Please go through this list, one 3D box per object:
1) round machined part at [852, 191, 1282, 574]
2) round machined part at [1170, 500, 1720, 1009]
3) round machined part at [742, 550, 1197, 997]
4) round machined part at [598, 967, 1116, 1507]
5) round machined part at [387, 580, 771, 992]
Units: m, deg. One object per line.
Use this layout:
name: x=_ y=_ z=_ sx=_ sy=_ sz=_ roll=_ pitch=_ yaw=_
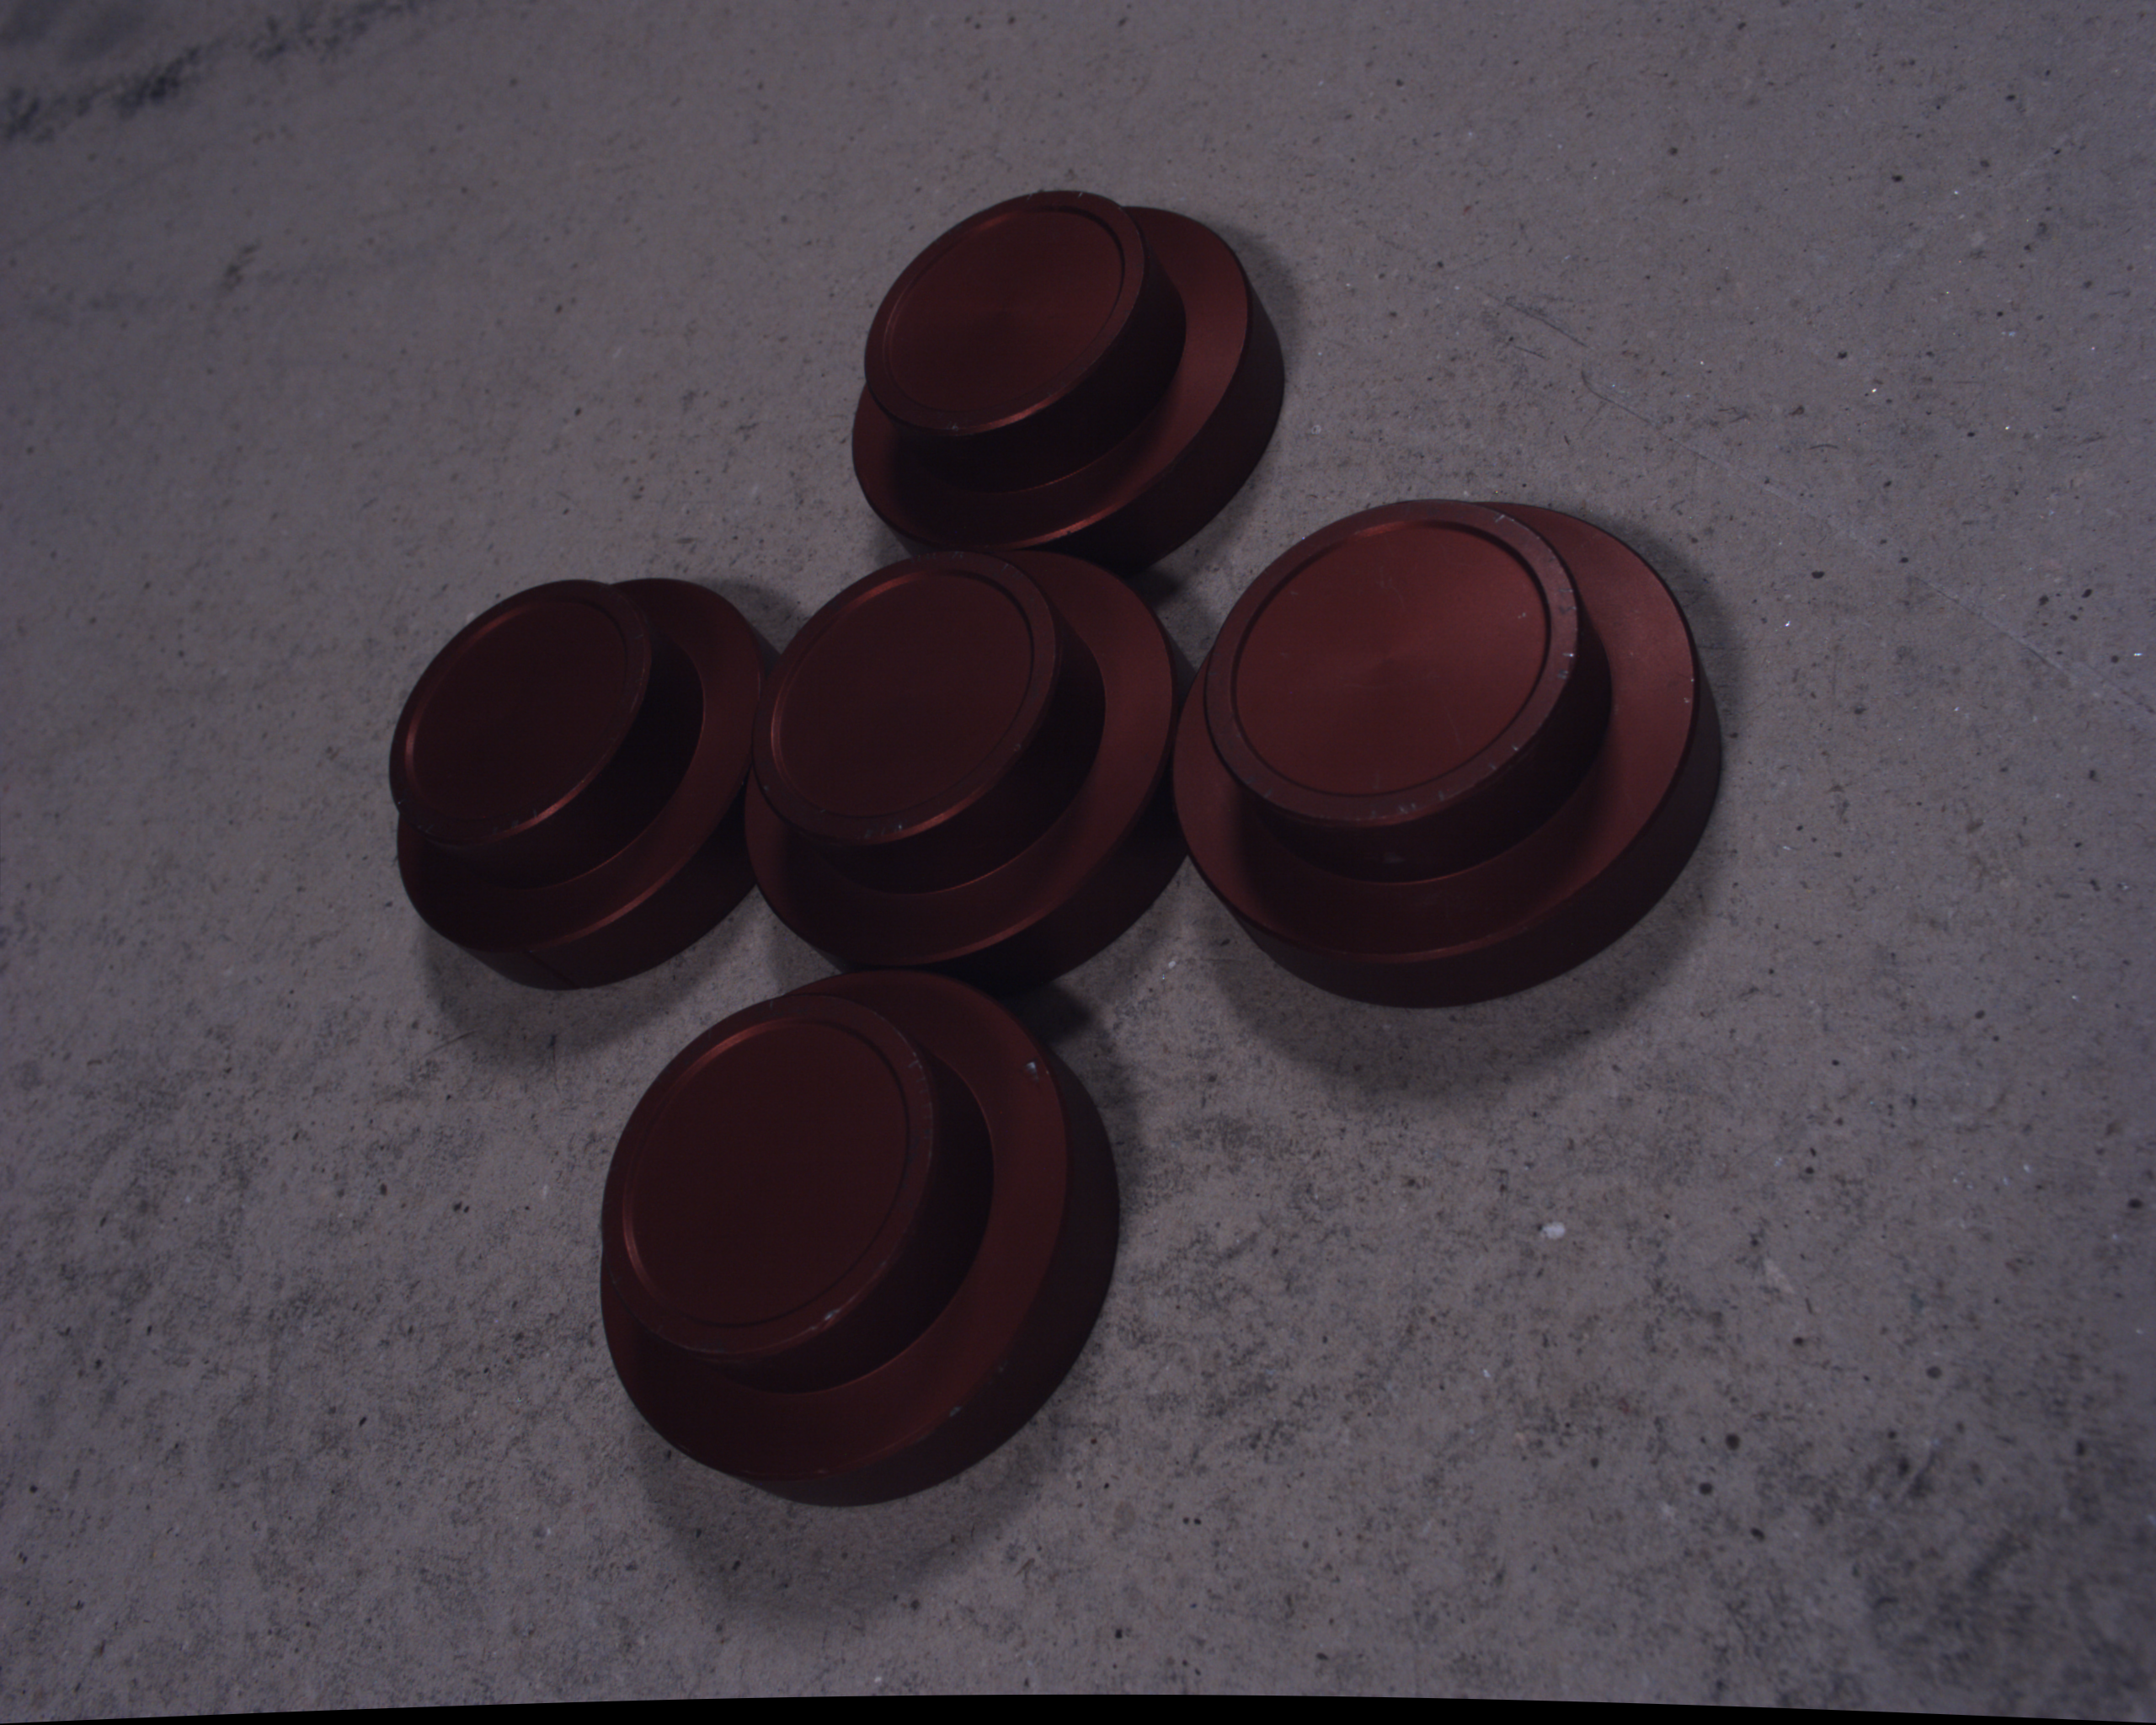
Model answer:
round machined part: x=-0.008 y=-0.110 z=0.465 sx=0.098 sy=0.042 sz=0.098 roll=-13 pitch=56 yaw=20
round machined part: x=0.062 y=-0.026 z=0.377 sx=0.098 sy=0.042 sz=0.098 roll=-13 pitch=56 yaw=20
round machined part: x=-0.026 y=-0.024 z=0.421 sx=0.098 sy=0.042 sz=0.098 roll=-13 pitch=56 yaw=20
round machined part: x=-0.046 y=0.063 z=0.378 sx=0.098 sy=0.042 sz=0.098 roll=-13 pitch=56 yaw=20
round machined part: x=-0.113 y=-0.024 z=0.466 sx=0.098 sy=0.042 sz=0.098 roll=-13 pitch=56 yaw=20
